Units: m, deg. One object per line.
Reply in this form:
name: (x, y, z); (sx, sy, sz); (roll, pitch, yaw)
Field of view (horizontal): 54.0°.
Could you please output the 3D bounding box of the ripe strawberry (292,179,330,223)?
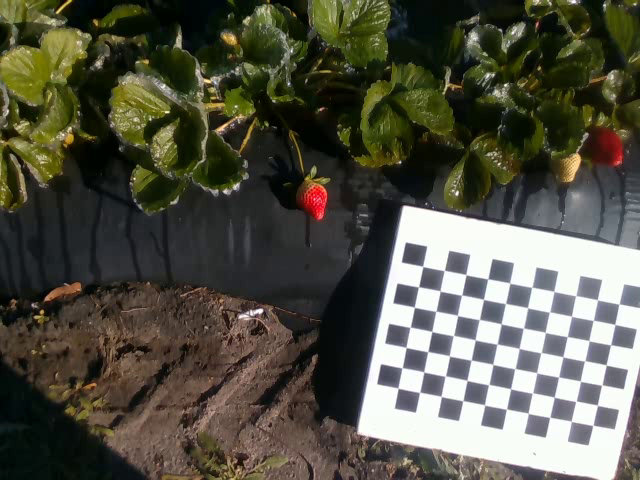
ripe strawberry: (-0.007, -0.041, 0.658); (0.039, 0.053, 0.041); (-10, -12, 0)
